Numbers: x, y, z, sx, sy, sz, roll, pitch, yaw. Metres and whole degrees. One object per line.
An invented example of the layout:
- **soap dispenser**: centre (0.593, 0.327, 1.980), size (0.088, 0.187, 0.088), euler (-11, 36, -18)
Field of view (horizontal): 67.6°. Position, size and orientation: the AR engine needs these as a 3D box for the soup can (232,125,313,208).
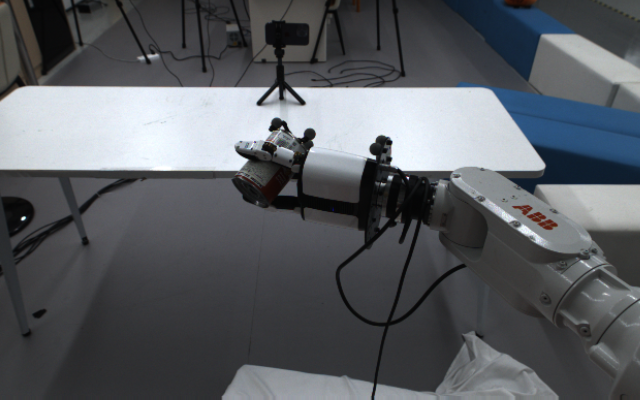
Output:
- **soup can**: centre (-0.074, -0.048, 0.719), size (0.067, 0.067, 0.101), euler (25, 66, 29)
